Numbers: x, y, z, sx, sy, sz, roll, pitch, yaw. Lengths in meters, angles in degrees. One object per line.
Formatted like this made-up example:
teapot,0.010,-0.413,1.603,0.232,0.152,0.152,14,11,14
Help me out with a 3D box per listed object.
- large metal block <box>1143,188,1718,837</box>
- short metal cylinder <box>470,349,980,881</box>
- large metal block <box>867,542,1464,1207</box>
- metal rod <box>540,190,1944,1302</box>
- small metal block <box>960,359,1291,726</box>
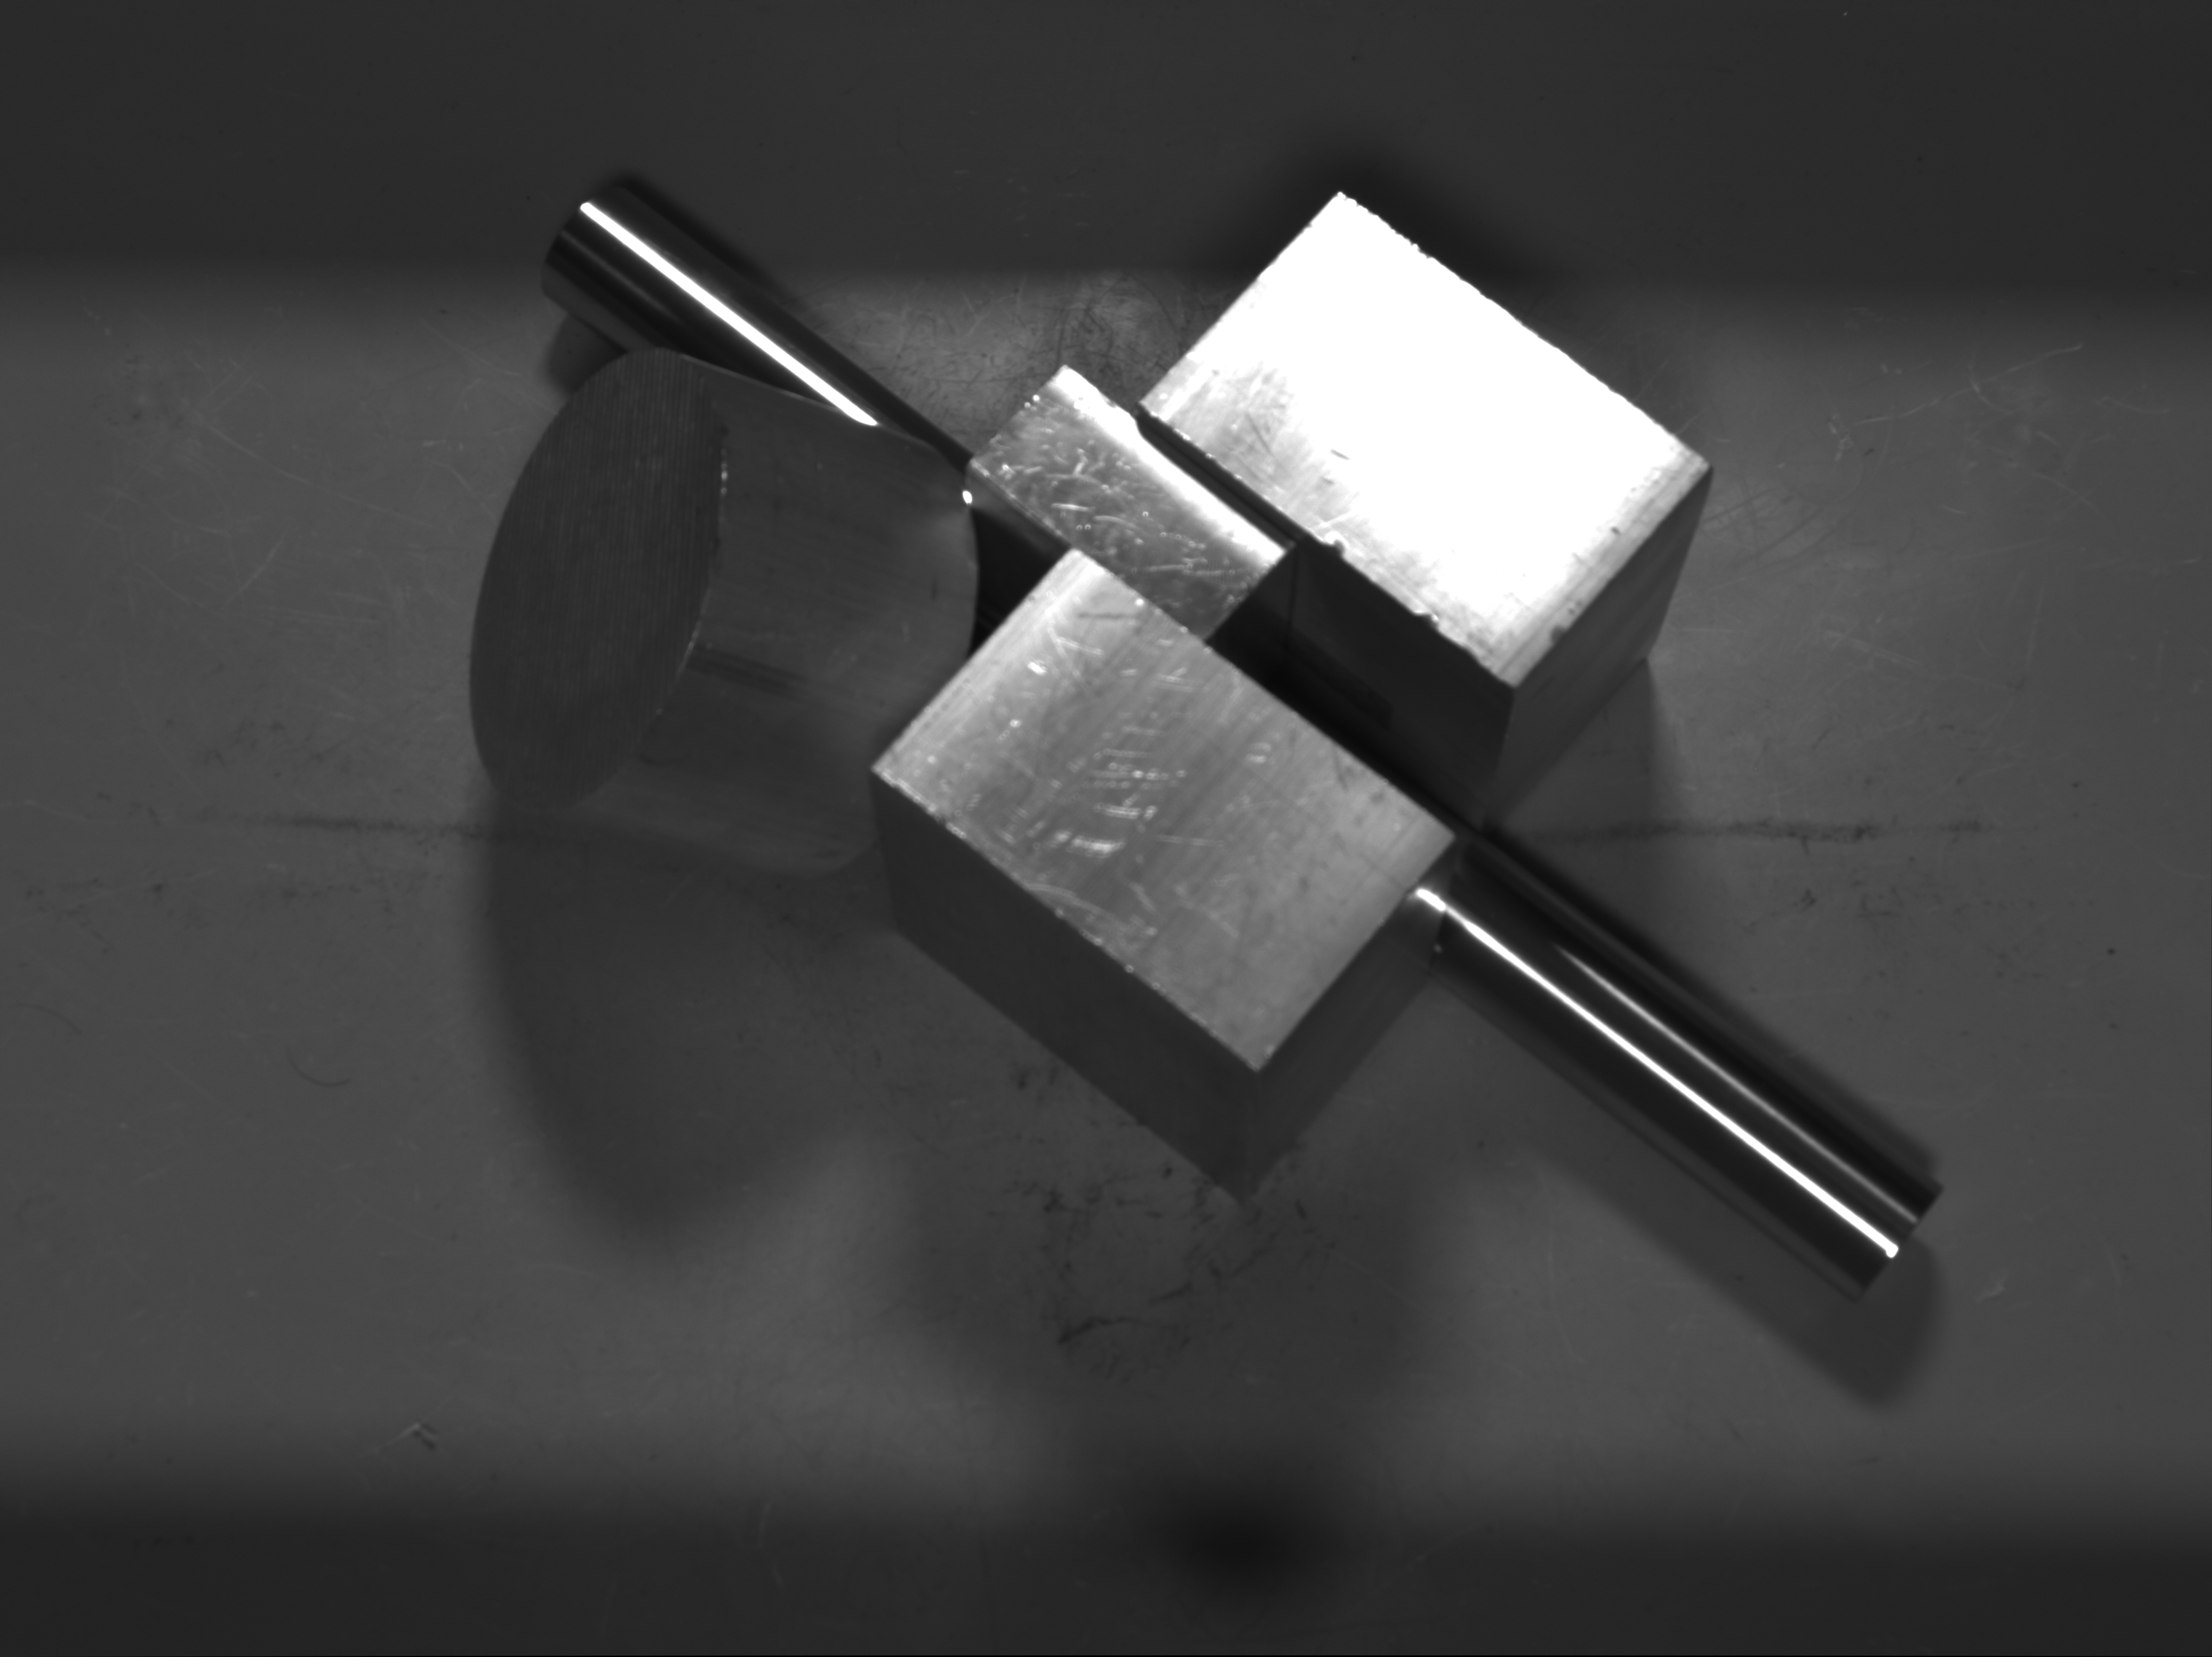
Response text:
large metal block,0.053,-0.051,0.634,0.080,0.080,0.050,39,74,13
short metal cylinder,-0.066,-0.035,0.621,0.050,0.080,0.080,17,65,-36
large metal block,0.009,0.010,0.612,0.080,0.080,0.050,38,74,13
metal rod,0.019,-0.019,0.652,0.300,0.025,0.025,38,74,13
small metal block,0.003,-0.045,0.623,0.050,0.050,0.025,39,75,13
